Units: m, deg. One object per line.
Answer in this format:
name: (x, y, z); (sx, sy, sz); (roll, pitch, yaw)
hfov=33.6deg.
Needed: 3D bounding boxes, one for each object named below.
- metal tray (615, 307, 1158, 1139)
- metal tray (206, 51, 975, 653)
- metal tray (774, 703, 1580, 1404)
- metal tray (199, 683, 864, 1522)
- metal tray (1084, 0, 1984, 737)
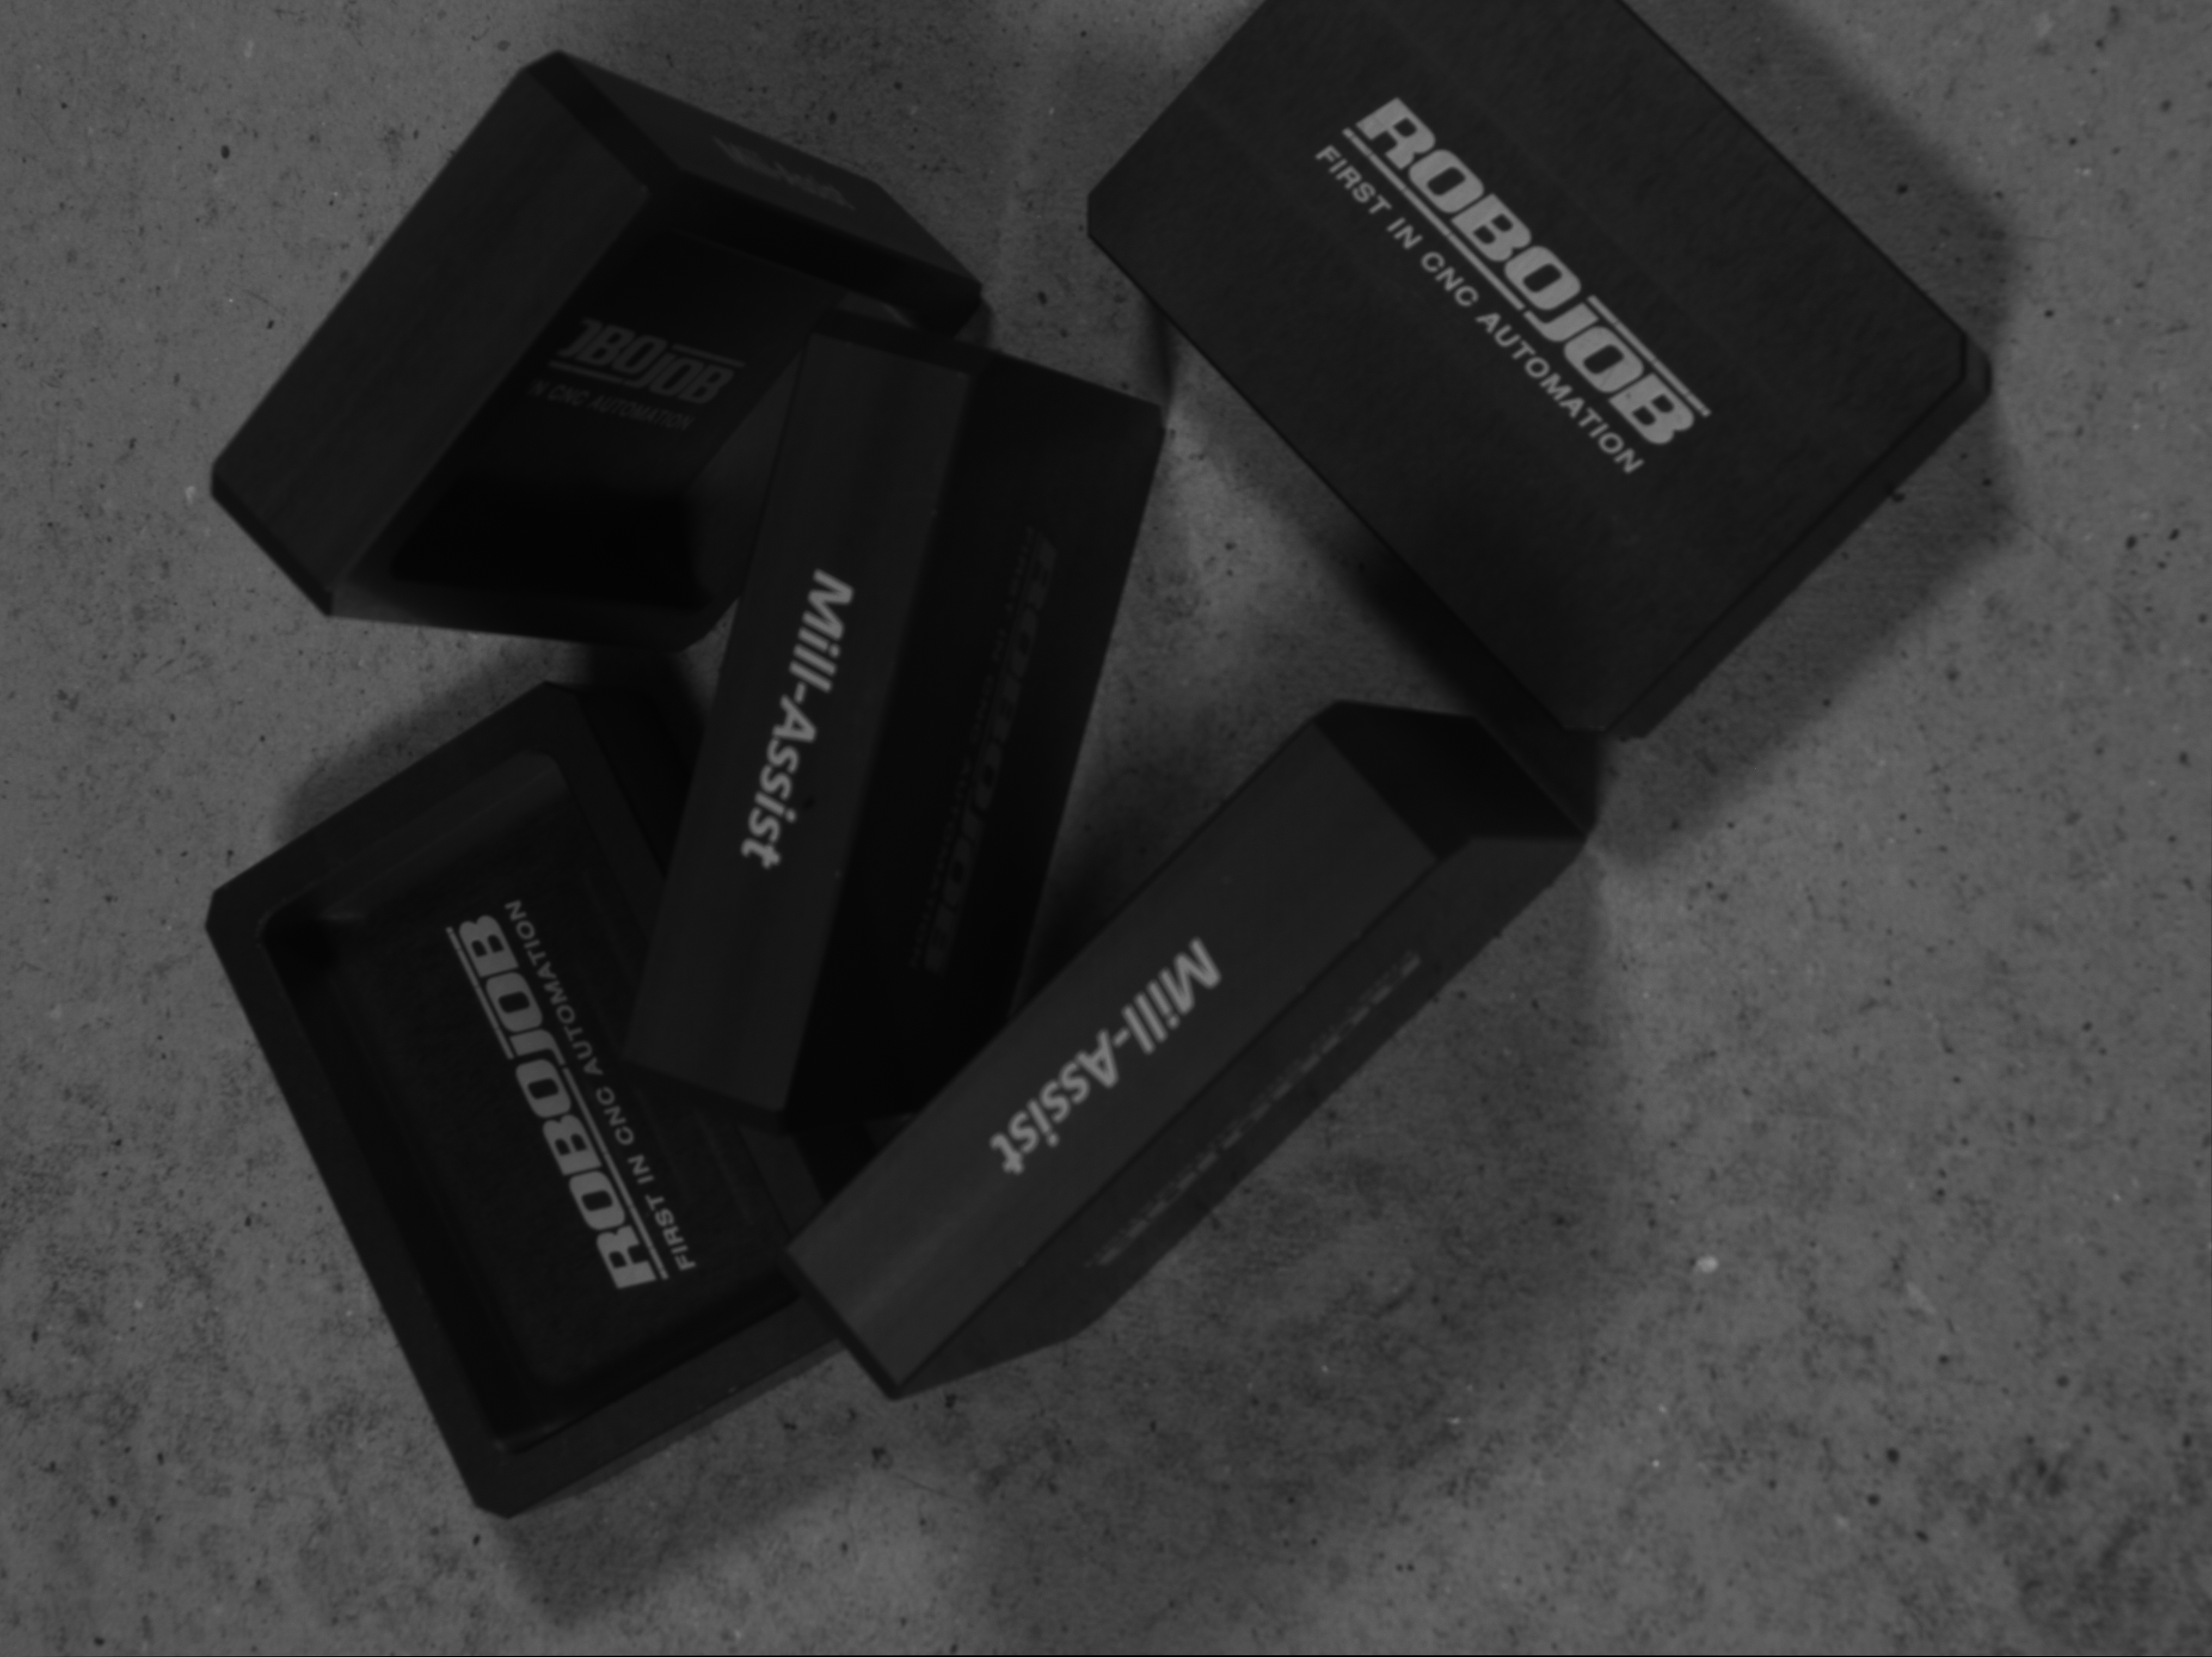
metal tray: (-0.035, -0.017, 0.622); (0.030, 0.090, 0.130); (17, 96, 19)
metal tray: (-0.083, -0.075, 0.618); (0.030, 0.130, 0.090); (45, 103, 14)
metal tray: (0.014, 0.036, 0.605); (0.130, 0.090, 0.030); (-45, 76, 14)
metal tray: (-0.101, 0.050, 0.678); (0.090, 0.030, 0.130); (-30, 80, 17)
metal tray: (0.071, -0.090, 0.617); (0.090, 0.030, 0.130); (-46, 76, 14)
